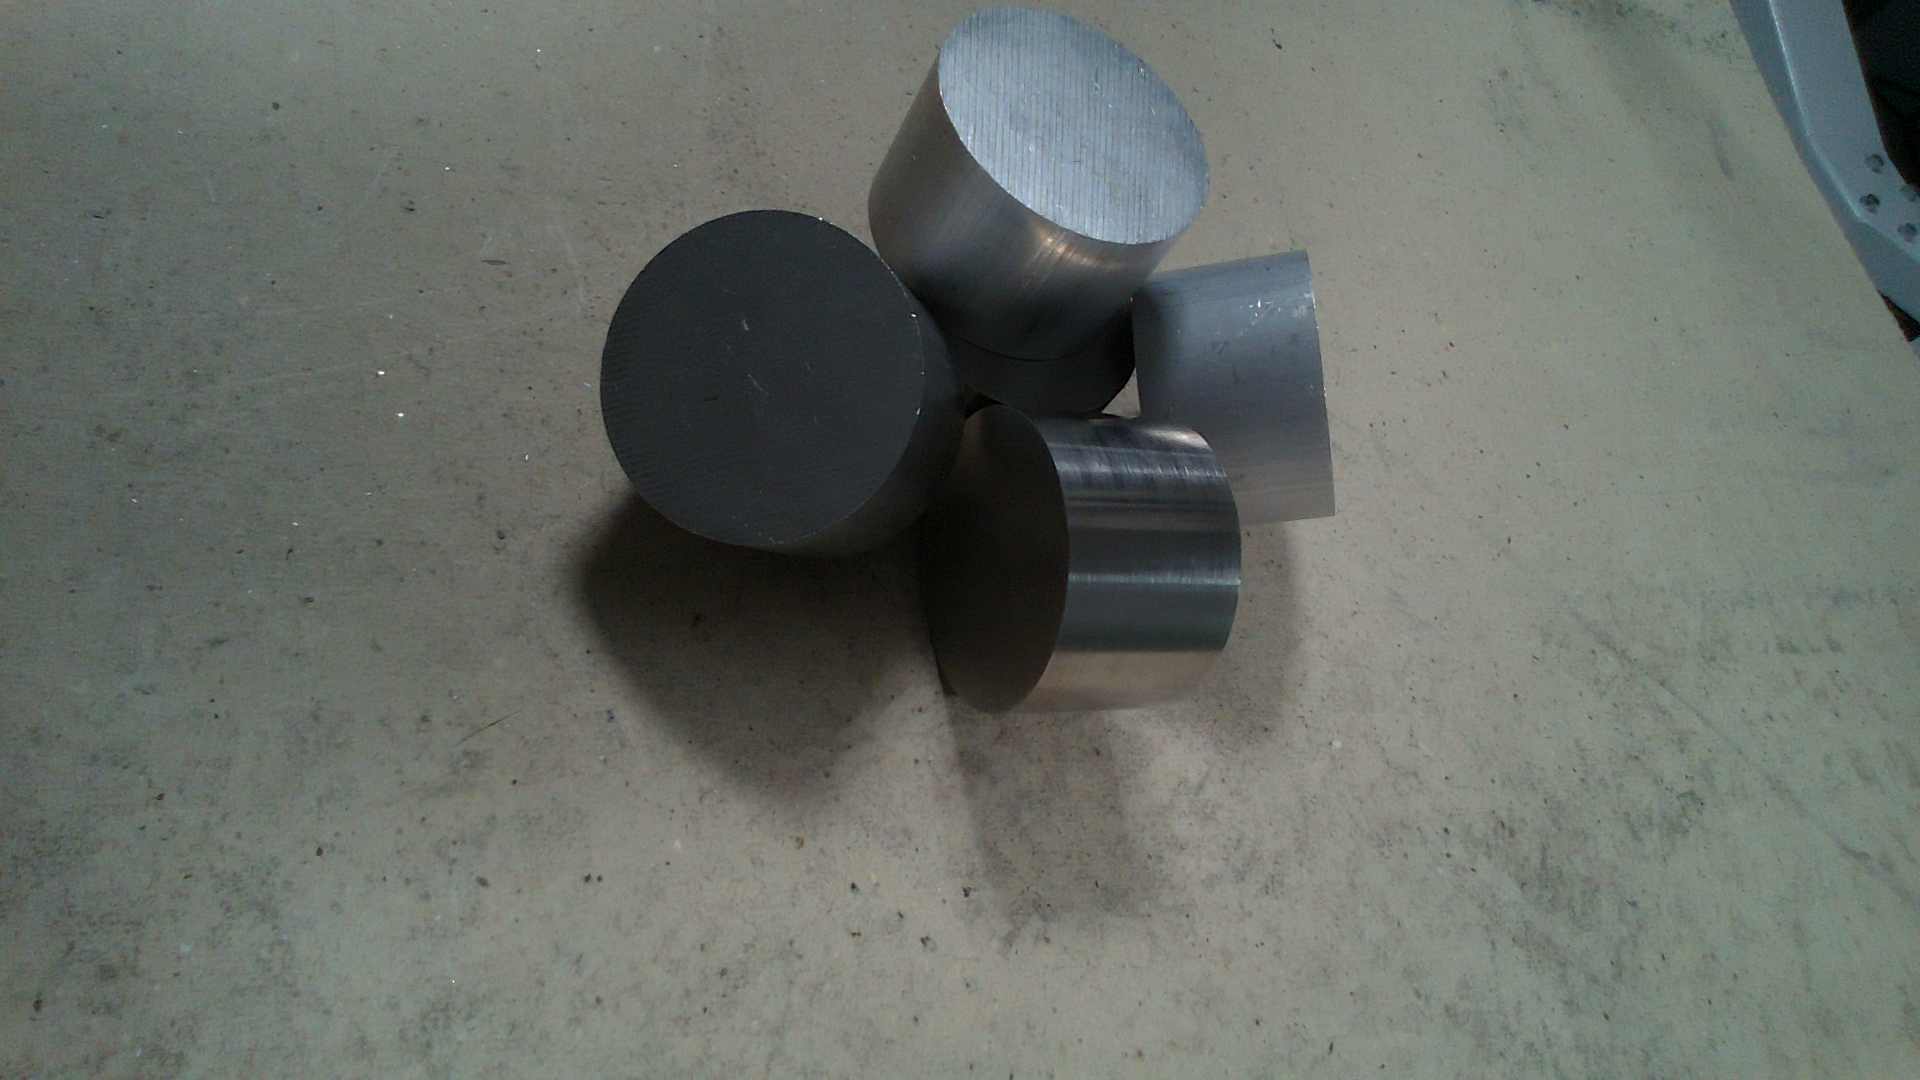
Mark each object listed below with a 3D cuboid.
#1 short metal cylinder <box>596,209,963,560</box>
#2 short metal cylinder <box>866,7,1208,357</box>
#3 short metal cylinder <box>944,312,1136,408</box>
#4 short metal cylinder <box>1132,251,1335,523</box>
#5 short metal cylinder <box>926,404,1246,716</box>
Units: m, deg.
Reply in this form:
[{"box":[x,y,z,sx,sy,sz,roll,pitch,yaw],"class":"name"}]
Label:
[{"box":[-0.043,-0.037,0.347,0.080,0.050,0.080,-1,85,11],"class":"short metal cylinder"},{"box":[0.021,-0.098,0.380,0.080,0.050,0.080,14,56,-21],"class":"short metal cylinder"},{"box":[0.006,-0.058,0.413,0.080,0.050,0.080,14,56,-21],"class":"short metal cylinder"},{"box":[0.083,-0.044,0.419,0.050,0.080,0.080,-7,57,13],"class":"short metal cylinder"},{"box":[0.031,0.006,0.366,0.050,0.080,0.080,2,61,-27],"class":"short metal cylinder"}]
